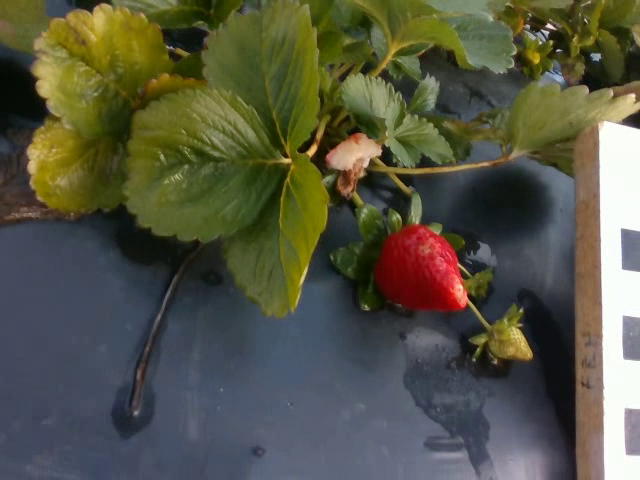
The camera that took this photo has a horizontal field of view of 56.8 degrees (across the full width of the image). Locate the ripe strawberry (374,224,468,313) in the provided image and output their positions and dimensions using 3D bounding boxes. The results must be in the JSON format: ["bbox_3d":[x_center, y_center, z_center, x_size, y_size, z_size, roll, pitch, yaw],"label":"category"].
[{"bbox_3d":[0.057,0.019,0.293,0.043,0.052,0.057,-19,23,-14],"label":"ripe strawberry"}]
